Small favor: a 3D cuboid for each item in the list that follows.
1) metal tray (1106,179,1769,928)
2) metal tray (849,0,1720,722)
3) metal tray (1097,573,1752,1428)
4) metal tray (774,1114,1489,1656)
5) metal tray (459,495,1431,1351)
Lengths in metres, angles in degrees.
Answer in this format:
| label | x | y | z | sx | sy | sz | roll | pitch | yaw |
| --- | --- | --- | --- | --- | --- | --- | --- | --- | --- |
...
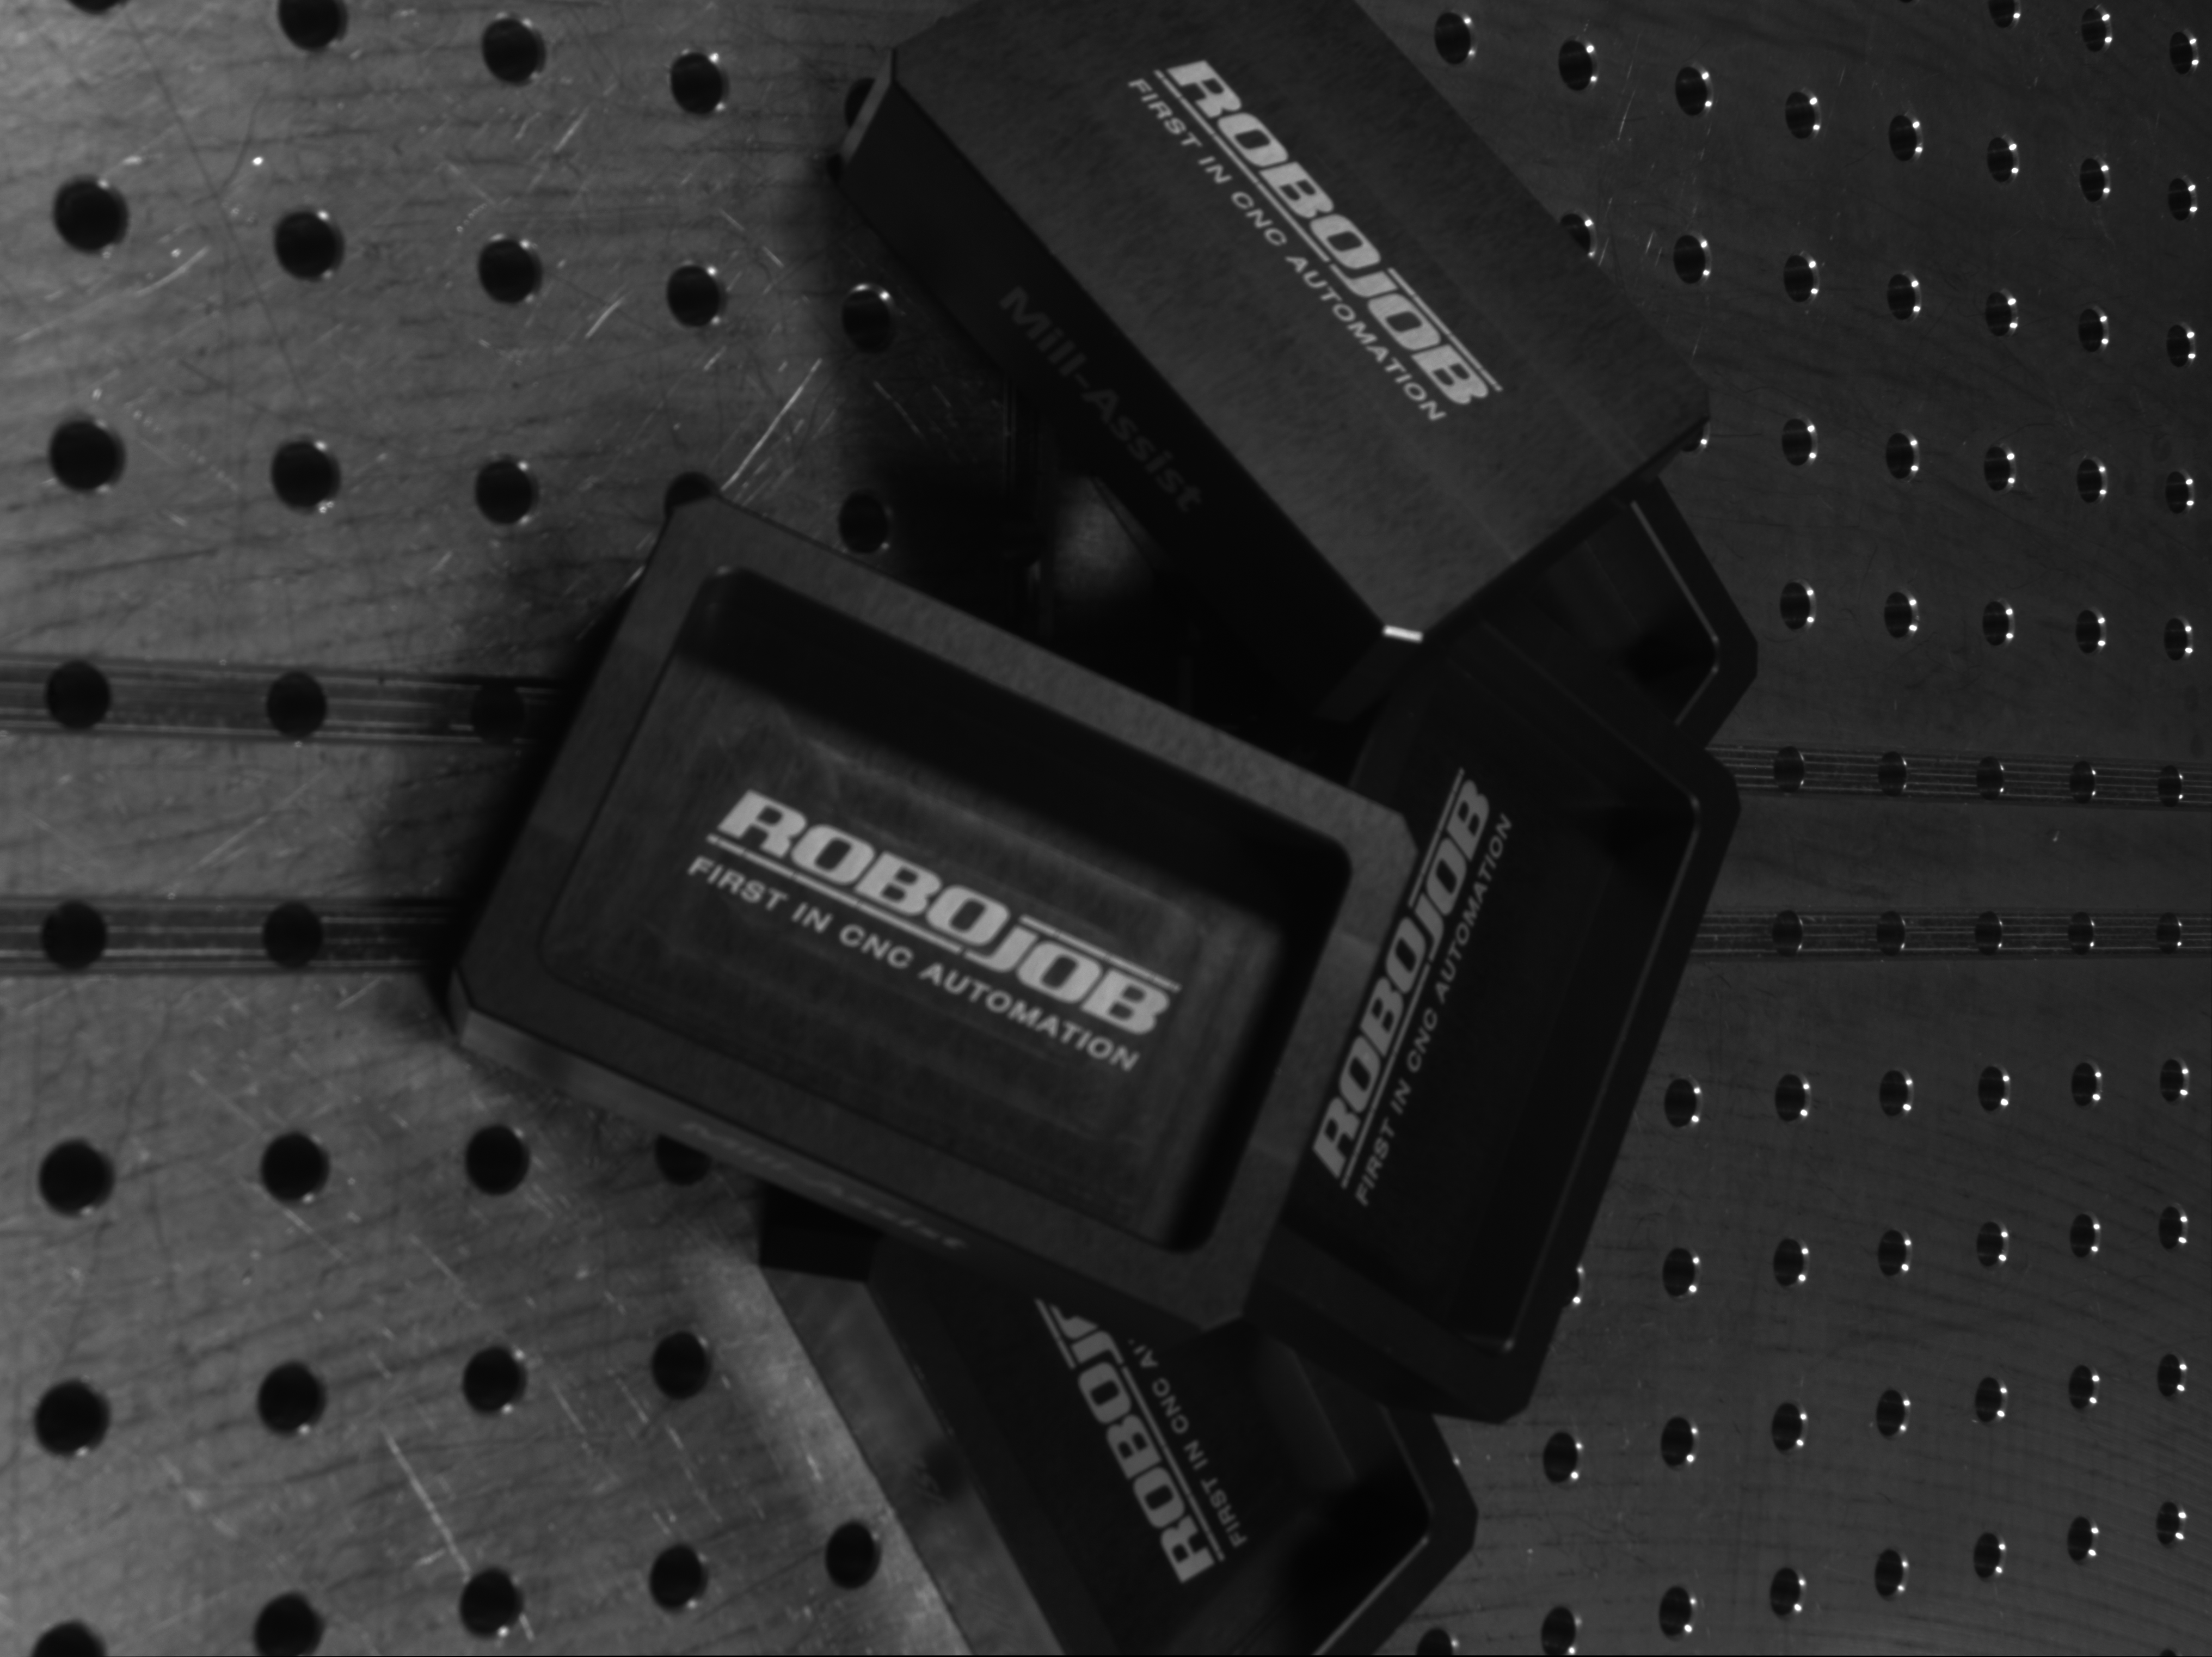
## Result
| label | x | y | z | sx | sy | sz | roll | pitch | yaw |
| --- | --- | --- | --- | --- | --- | --- | --- | --- | --- |
| metal tray | 0.066 | -0.050 | 0.691 | 0.090 | 0.030 | 0.130 | -51 | 120 | -28 |
| metal tray | 0.031 | -0.092 | 0.624 | 0.090 | 0.030 | 0.130 | -37 | 83 | -34 |
| metal tray | 0.058 | 0.028 | 0.647 | 0.090 | 0.030 | 0.130 | 35 | 68 | -34 |
| metal tray | 0.008 | 0.100 | 0.643 | 0.090 | 0.030 | 0.130 | -40 | 114 | -33 |
| metal tray | -0.025 | 0.016 | 0.577 | 0.130 | 0.030 | 0.090 | 25 | 72 | -6 |
